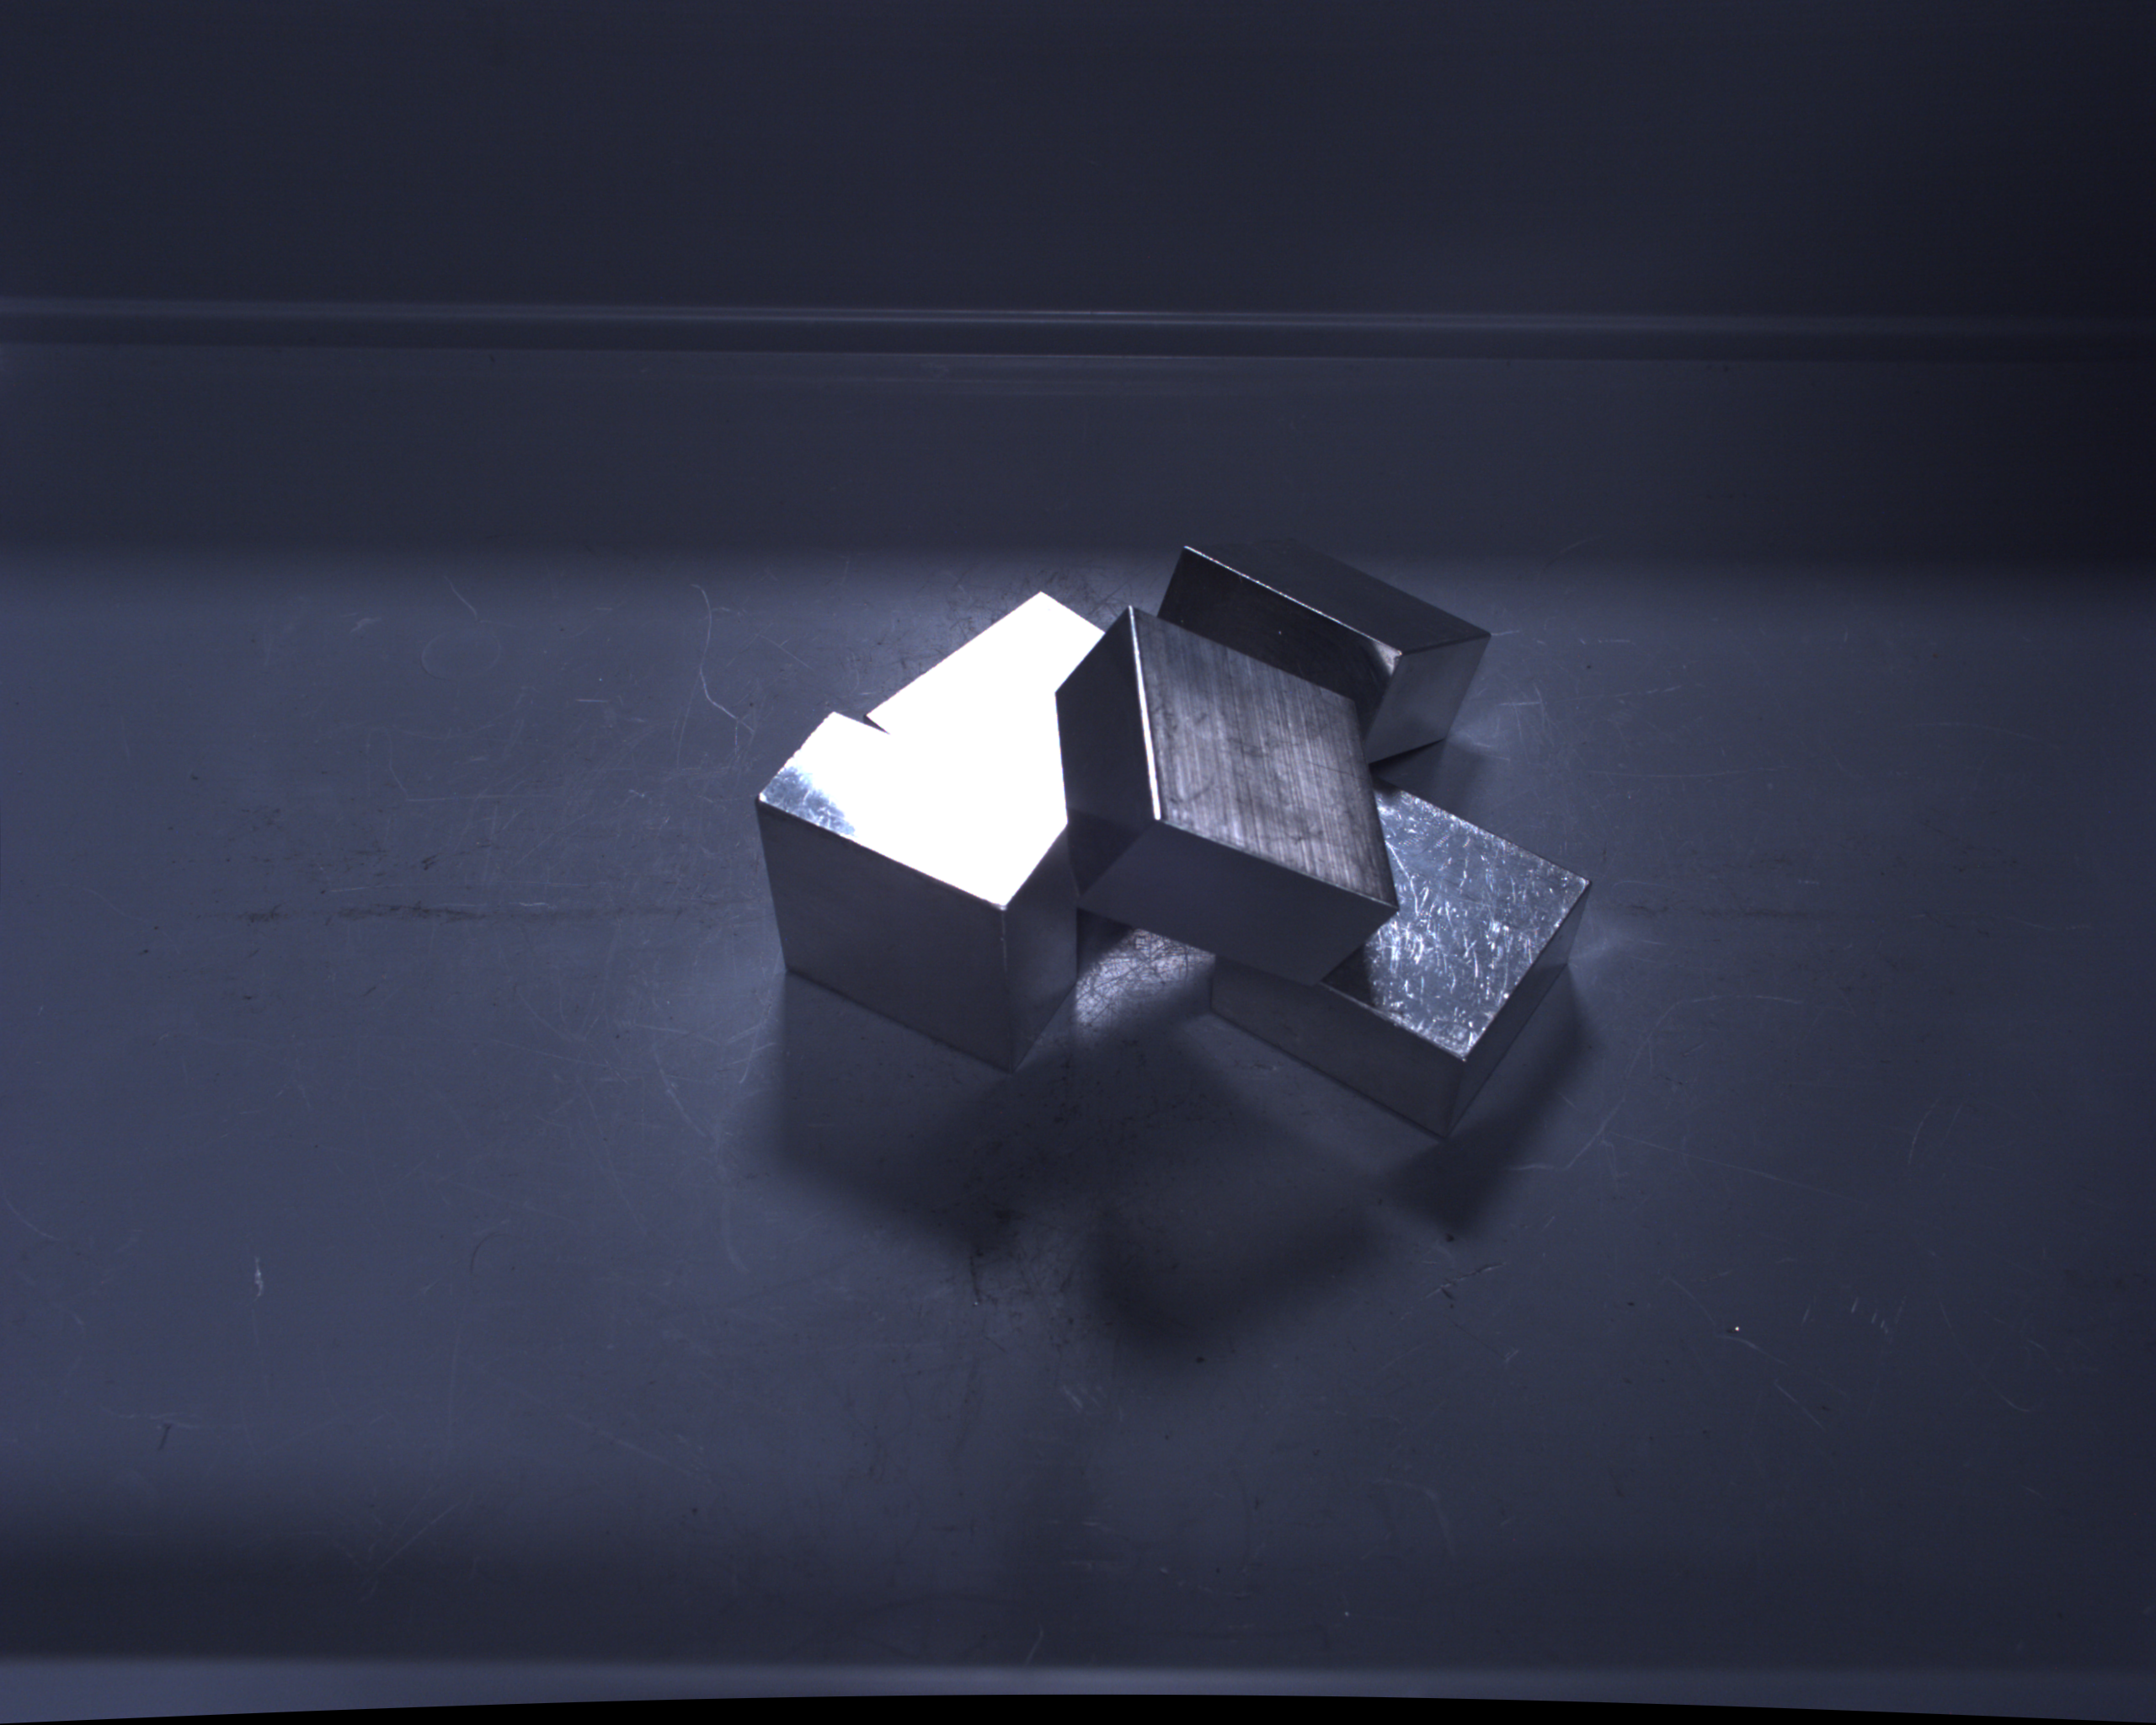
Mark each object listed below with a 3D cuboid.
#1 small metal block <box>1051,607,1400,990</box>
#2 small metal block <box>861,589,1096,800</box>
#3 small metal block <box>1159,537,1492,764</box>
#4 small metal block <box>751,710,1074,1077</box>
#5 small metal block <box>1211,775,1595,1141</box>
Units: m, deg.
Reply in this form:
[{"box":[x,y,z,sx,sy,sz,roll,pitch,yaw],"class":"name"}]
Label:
[{"box":[0.025,-0.011,0.365,0.050,0.025,0.050,20,44,-27],"class":"small metal block"},{"box":[-0.007,-0.022,0.420,0.050,0.025,0.050,36,58,26],"class":"small metal block"},{"box":[0.049,-0.044,0.426,0.050,0.025,0.050,30,23,22],"class":"small metal block"},{"box":[-0.029,0.006,0.380,0.050,0.050,0.025,23,54,18],"class":"small metal block"},{"box":[0.060,0.016,0.390,0.050,0.025,0.050,28,55,21],"class":"small metal block"}]
